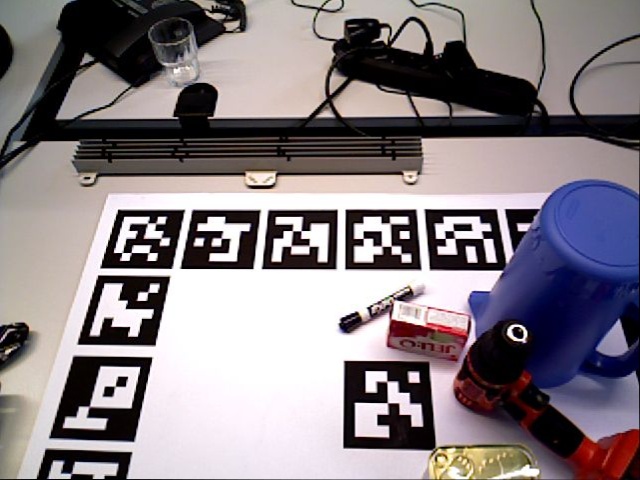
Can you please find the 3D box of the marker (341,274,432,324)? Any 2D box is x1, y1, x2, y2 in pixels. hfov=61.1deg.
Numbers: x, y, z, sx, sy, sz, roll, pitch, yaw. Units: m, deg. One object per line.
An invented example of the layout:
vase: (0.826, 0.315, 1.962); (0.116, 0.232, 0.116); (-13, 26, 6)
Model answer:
marker: (0.081, 0.073, 0.672); (0.120, 0.020, 0.019); (-22, 59, -9)

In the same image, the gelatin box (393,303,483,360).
gelatin box: (0.133, 0.106, 0.620); (0.089, 0.074, 0.030); (11, 62, 8)

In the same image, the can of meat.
can of meat: (0.155, 0.238, 0.525); (0.101, 0.085, 0.057); (0, 55, 2)

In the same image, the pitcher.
pitcher: (0.274, 0.061, 0.546); (0.189, 0.246, 0.131); (27, 65, 26)

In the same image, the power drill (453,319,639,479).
power drill: (0.223, 0.159, 0.515); (0.187, 0.188, 0.056); (34, 66, 15)
